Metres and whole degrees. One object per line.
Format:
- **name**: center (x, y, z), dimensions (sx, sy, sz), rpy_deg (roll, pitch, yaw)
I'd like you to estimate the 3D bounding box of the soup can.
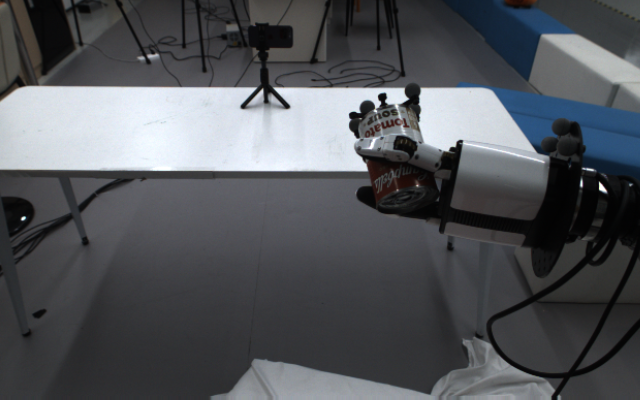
- **soup can**: center (0.085, -0.046, 0.528), dimensions (0.067, 0.067, 0.101), rpy_deg (-6, 68, -12)
